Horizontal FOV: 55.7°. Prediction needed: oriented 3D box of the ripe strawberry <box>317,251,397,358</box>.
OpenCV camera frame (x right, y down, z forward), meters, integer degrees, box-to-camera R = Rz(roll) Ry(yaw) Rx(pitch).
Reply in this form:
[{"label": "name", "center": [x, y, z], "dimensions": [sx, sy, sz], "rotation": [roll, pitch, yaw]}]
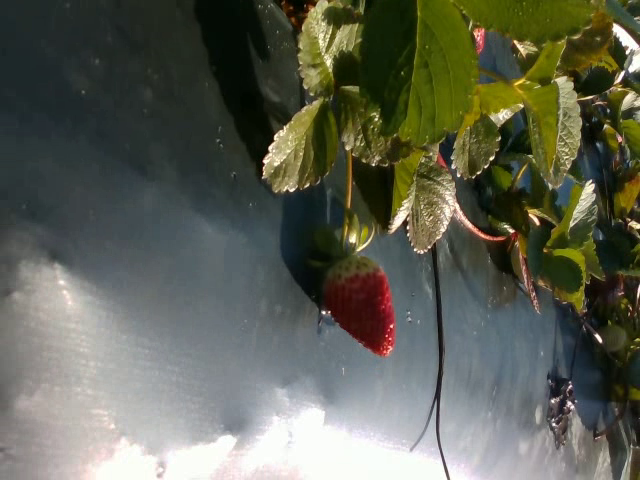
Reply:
[{"label": "ripe strawberry", "center": [0.015, 0.024, 0.208], "dimensions": [0.028, 0.041, 0.031], "rotation": [-6, -32, -37]}]
